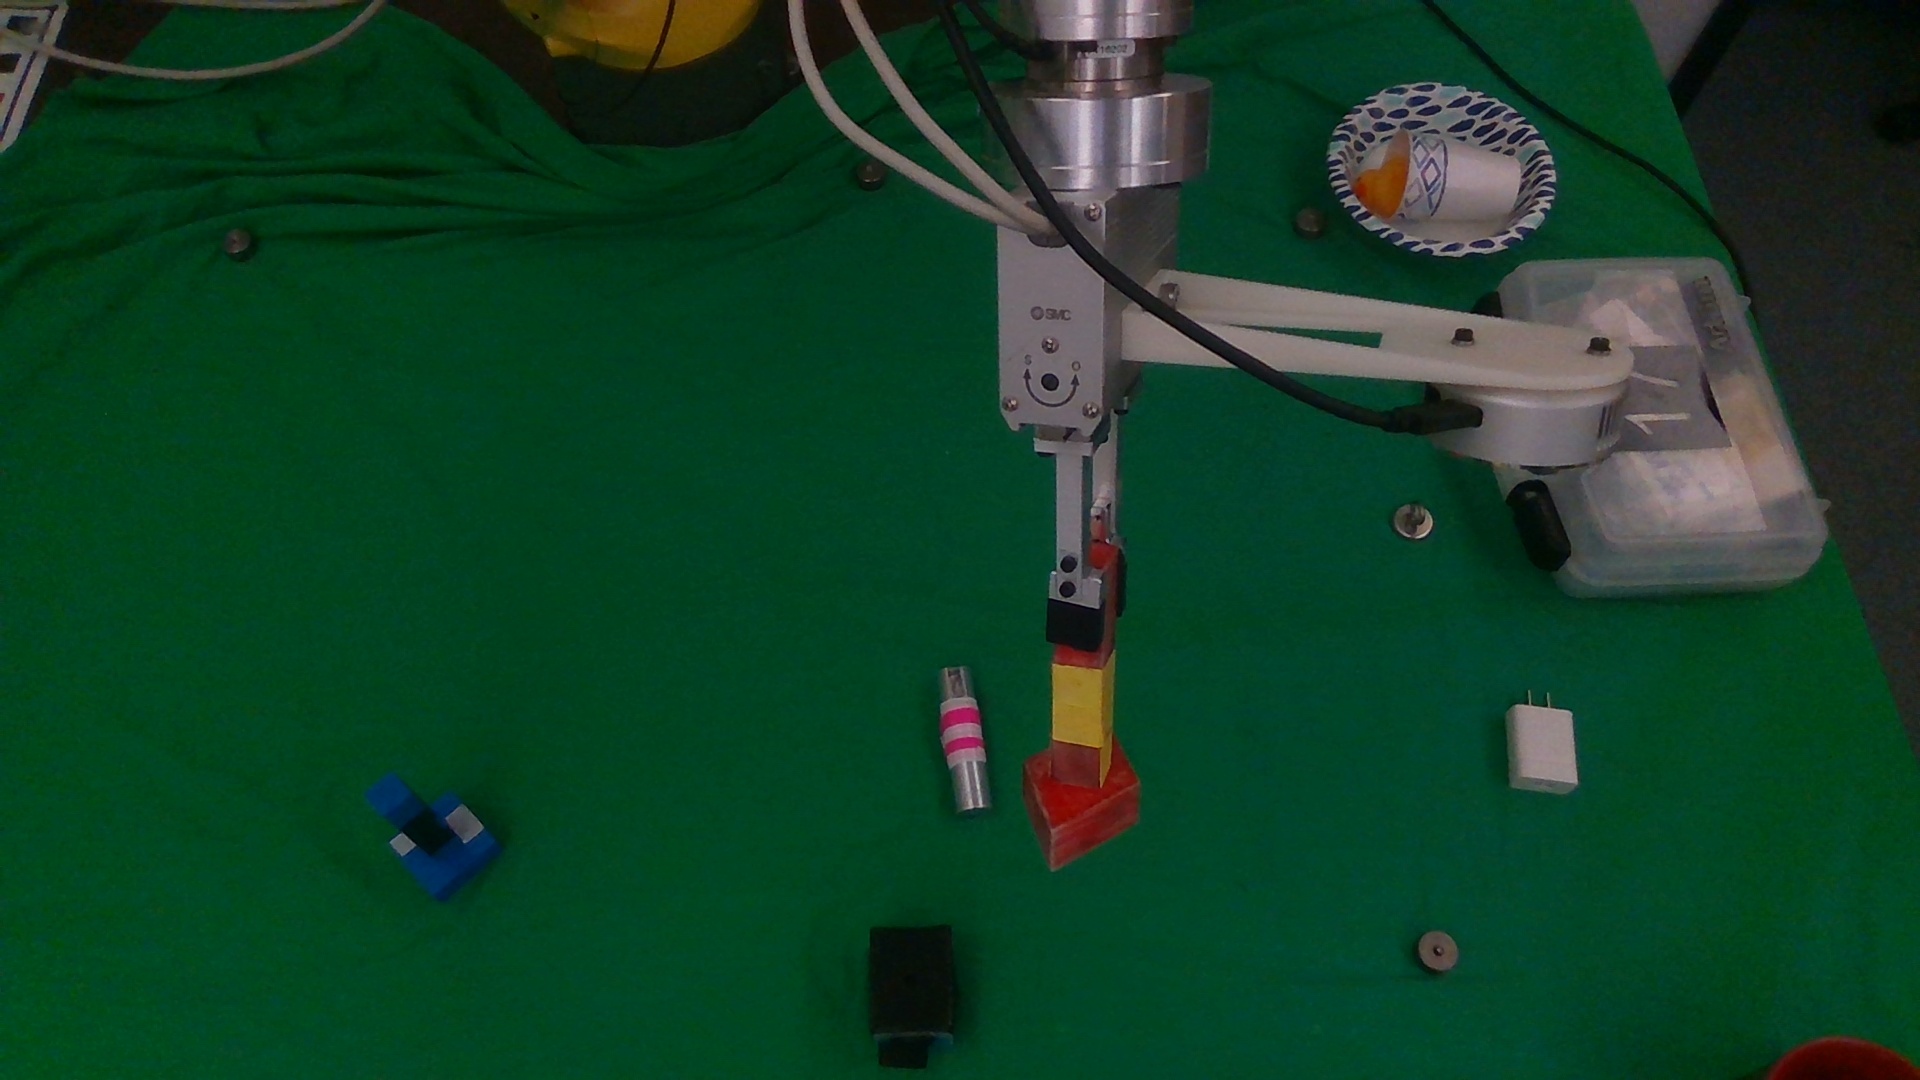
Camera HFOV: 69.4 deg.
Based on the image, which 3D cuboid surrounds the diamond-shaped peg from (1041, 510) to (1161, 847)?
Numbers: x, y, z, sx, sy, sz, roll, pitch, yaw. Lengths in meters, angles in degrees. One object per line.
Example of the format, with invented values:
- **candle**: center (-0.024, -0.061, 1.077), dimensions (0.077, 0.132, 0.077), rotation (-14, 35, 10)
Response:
- **diamond-shaped peg**: center (0.053, 0.048, 0.542), dimensions (0.045, 0.122, 0.074), rotation (-6, 22, -5)

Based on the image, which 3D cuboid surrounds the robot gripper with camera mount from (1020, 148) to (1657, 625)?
- **robot gripper with camera mount**: center (0.126, -0.043, 0.481), dimensions (0.194, 0.158, 0.119), rotation (6, 24, 14)
